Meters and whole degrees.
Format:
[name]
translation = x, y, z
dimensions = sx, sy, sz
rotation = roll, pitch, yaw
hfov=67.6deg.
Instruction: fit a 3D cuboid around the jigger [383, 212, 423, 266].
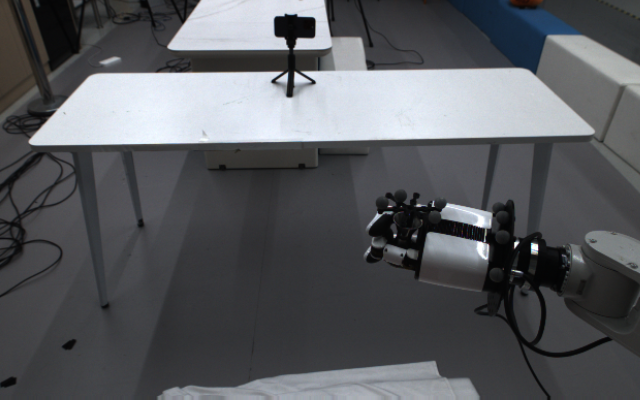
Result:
[jigger]
translation = 0.120, 0.054, 0.678
dimensions = 0.043, 0.071, 0.043
rotation = 4, 31, -2
